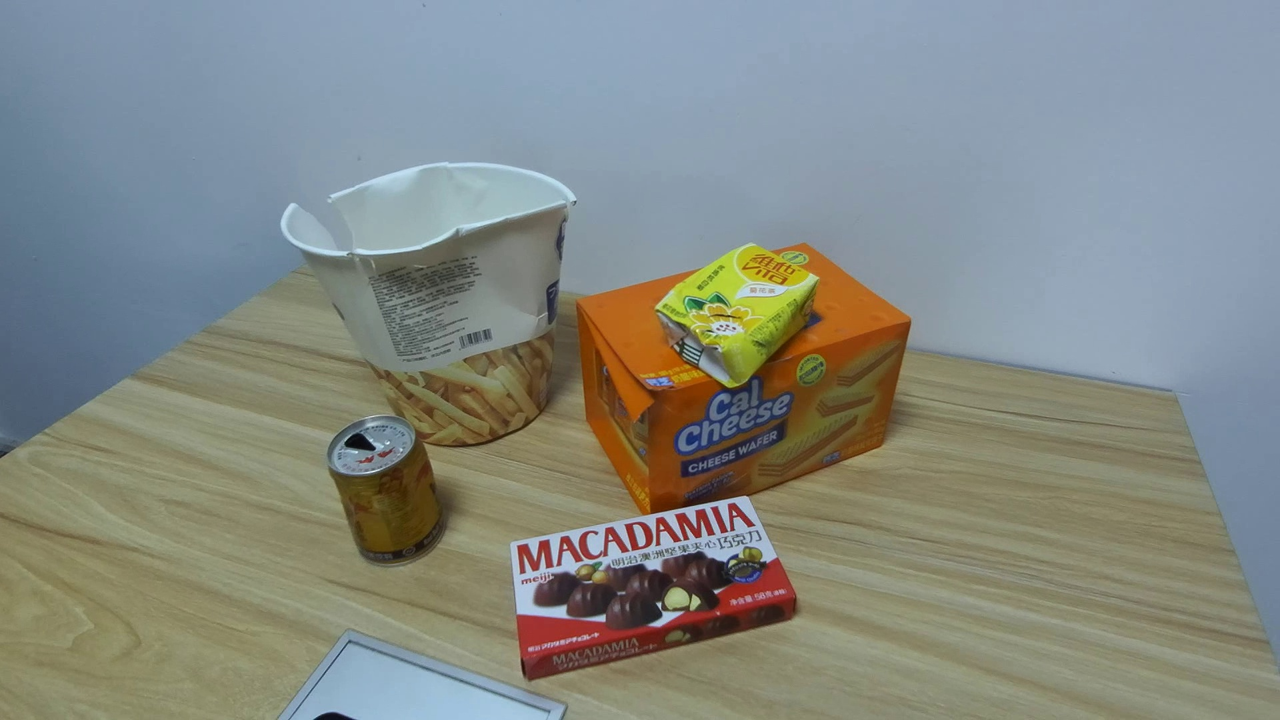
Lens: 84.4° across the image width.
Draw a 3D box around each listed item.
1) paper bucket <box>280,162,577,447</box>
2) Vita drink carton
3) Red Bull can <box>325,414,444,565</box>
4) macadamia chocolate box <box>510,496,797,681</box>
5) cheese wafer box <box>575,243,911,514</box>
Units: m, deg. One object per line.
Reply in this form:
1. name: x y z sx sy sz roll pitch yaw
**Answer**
1. paper bucket: -0.163 -0.048 0.611 0.203 0.197 0.145 -24 40 -27
2. Vita drink carton: 0.069 -0.032 0.494 0.086 0.042 0.108 35 52 30
3. Red Bull can: -0.182 0.094 0.509 0.068 0.093 0.068 -2 35 1
4. macadamia chocolate box: 0.005 0.149 0.478 0.178 0.027 0.095 -9 35 -8
5. cheese wafer box: 0.076 0.010 0.574 0.228 0.137 0.149 -16 39 -18
